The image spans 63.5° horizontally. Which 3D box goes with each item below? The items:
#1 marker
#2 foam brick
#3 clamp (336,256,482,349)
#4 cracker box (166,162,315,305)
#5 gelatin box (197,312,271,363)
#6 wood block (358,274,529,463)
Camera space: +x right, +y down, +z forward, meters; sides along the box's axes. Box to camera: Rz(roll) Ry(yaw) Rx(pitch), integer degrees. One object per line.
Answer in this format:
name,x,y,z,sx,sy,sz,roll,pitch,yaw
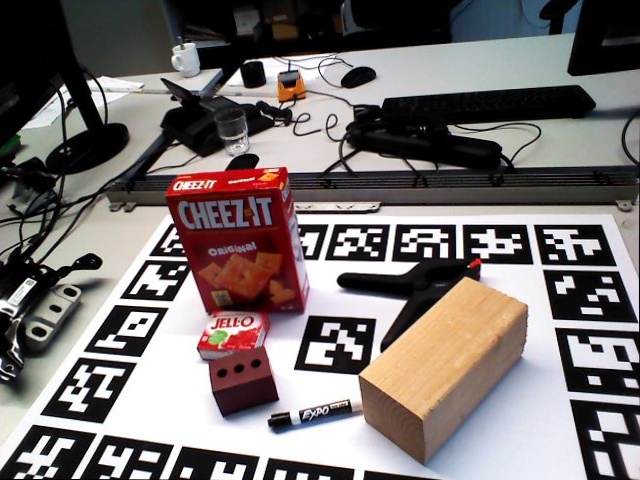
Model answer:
marker,-0.014,0.208,0.619,0.121,0.020,0.019,-14,40,-1
foam brick,-0.098,0.179,0.656,0.078,0.051,0.052,-17,40,-5
clamp,0.144,0.063,0.743,0.202,0.037,0.165,-21,39,-9
cracker box,-0.106,-0.002,0.744,0.165,0.214,0.071,-2,38,10
gelatin box,-0.121,0.138,0.735,0.090,0.030,0.073,-2,41,14
wood block,0.150,0.140,0.608,0.205,0.091,0.090,-35,41,-29
